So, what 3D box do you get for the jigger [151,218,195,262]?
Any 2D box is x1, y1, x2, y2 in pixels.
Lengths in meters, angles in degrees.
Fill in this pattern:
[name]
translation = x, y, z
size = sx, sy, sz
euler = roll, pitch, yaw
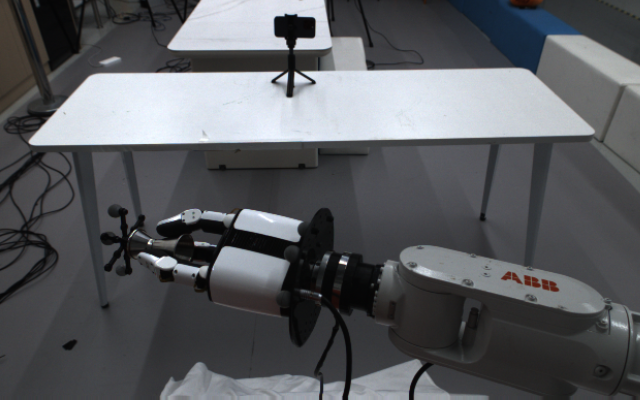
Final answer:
[jigger]
translation = -0.190, 0.057, 0.600
size = 0.071, 0.043, 0.043
euler = 6, 35, 15
